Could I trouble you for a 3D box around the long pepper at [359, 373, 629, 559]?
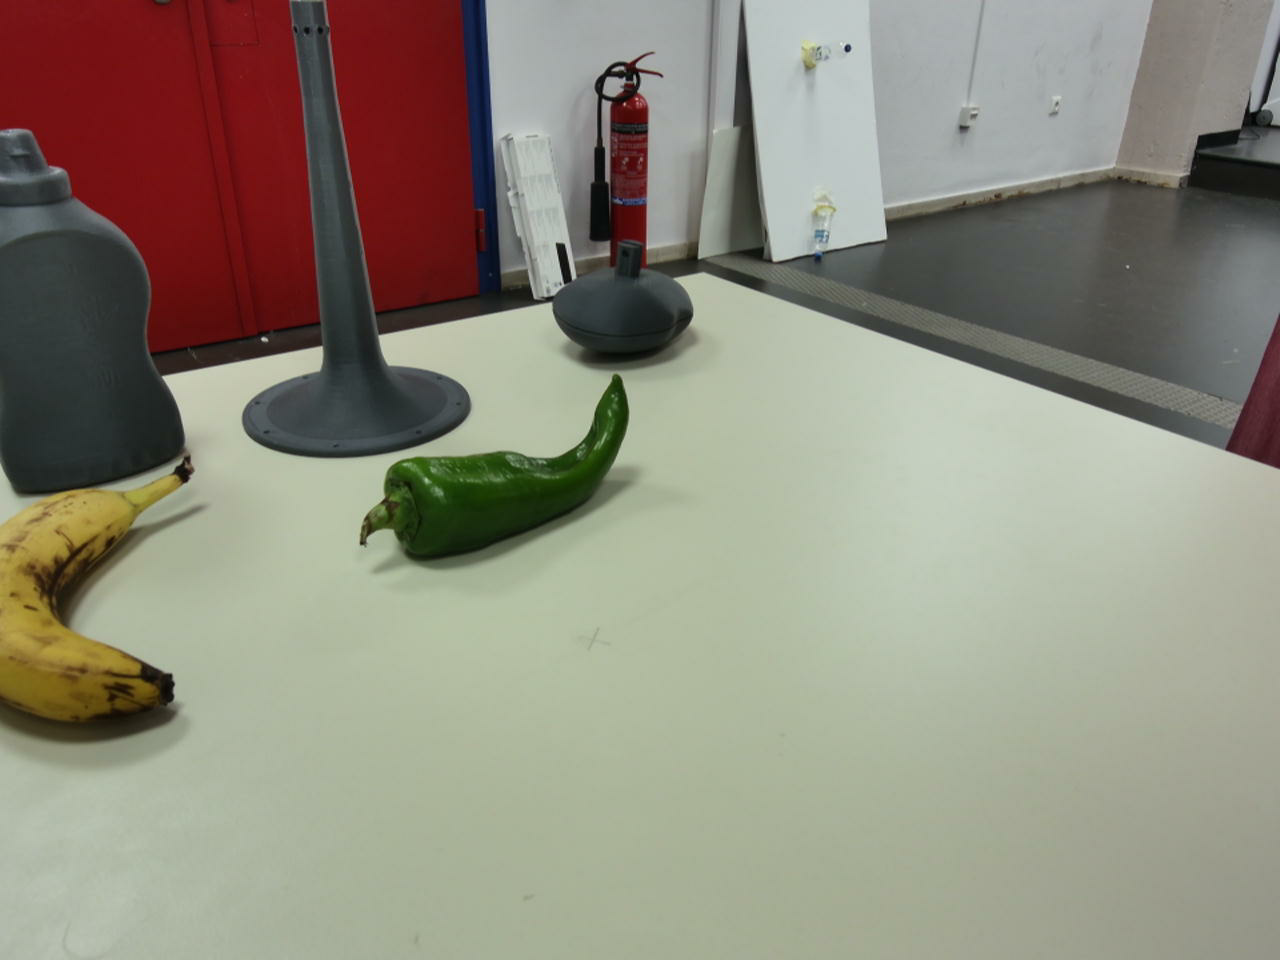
[{"bbox_3d":[-0.069,-0.006,0.530,0.175,0.065,0.058,-19,31,-35],"label":"long pepper"}]
